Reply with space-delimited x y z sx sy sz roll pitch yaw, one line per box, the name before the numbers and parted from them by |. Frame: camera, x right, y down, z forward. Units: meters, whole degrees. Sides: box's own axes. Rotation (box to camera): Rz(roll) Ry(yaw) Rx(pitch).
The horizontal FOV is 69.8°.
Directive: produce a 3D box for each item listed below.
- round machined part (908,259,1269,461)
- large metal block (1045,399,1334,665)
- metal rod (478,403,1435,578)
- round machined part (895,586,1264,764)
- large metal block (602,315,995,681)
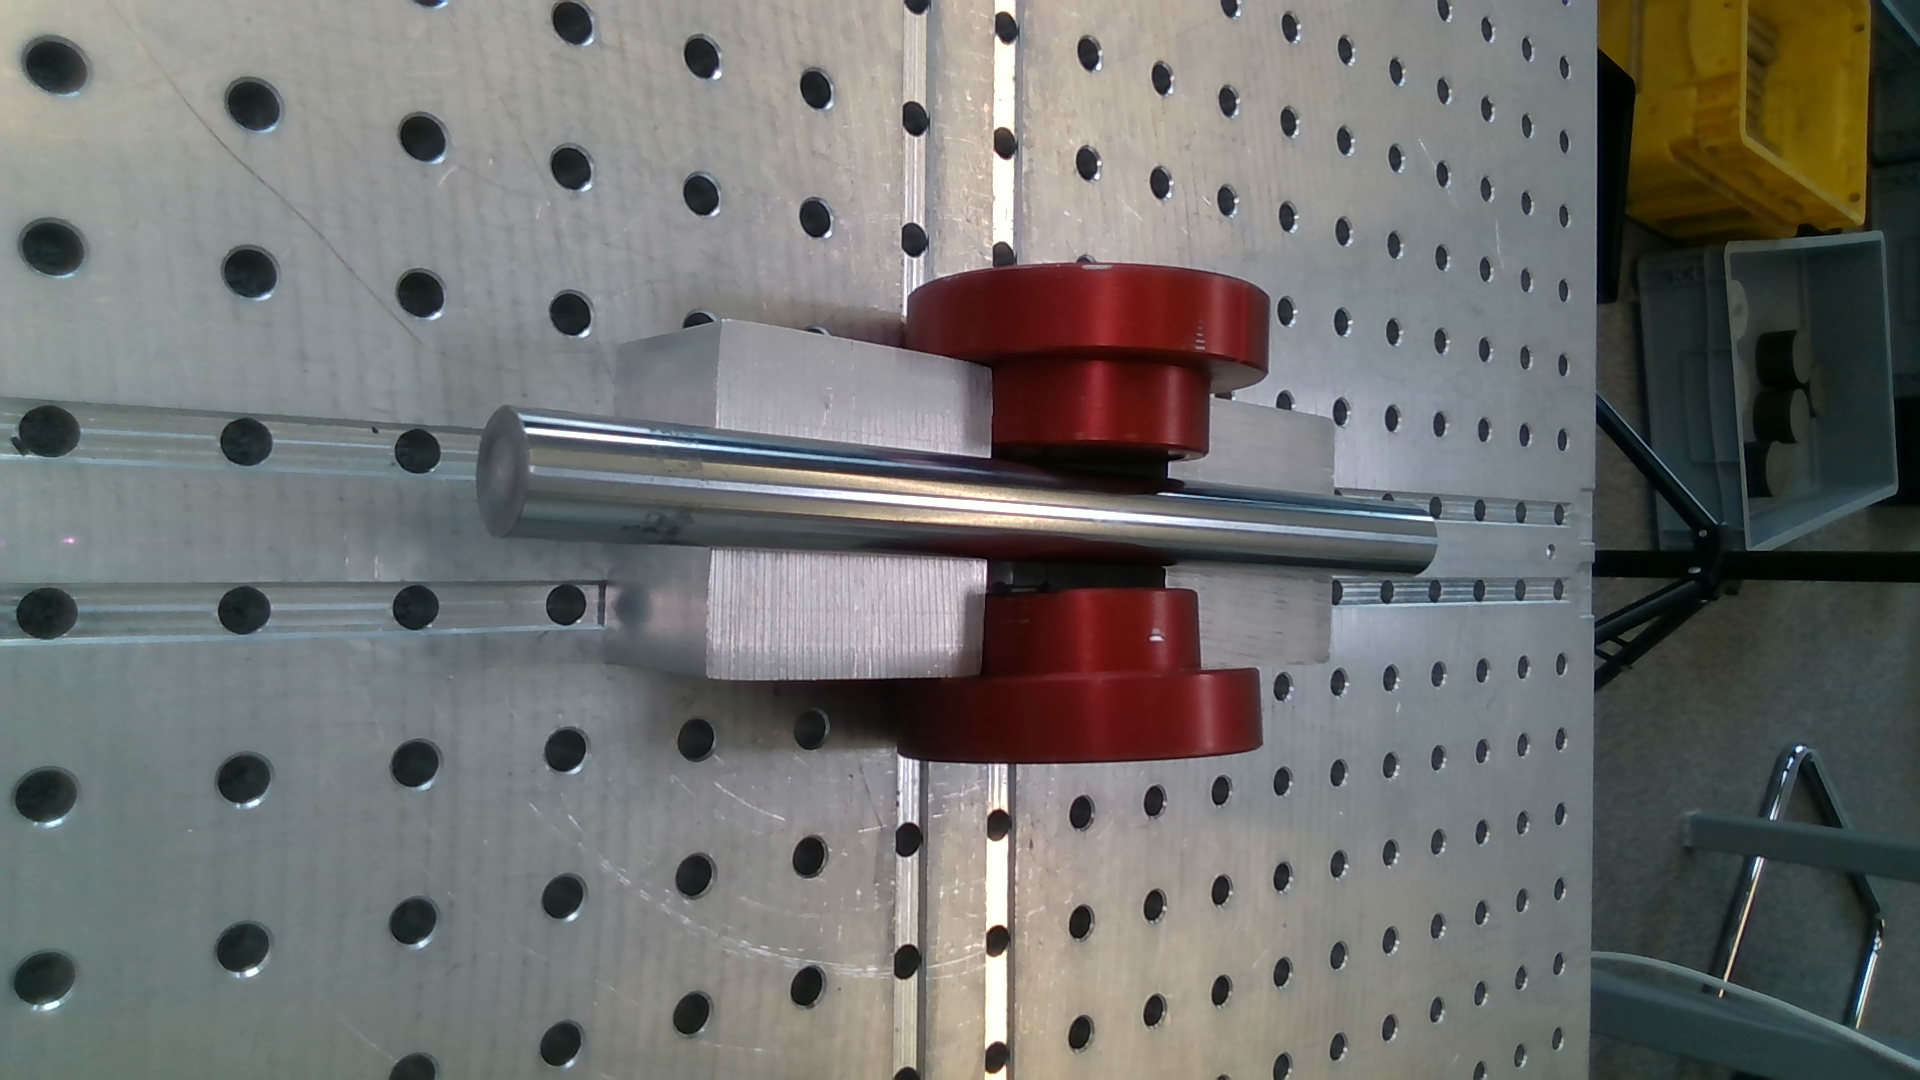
round machined part | 0.034 -0.044 0.374 0.098 0.098 0.042 3 88 -40
large metal block | 0.074 -0.002 0.440 0.080 0.050 0.080 3 88 -40
metal rod | 0.029 -0.006 0.354 0.300 0.025 0.025 3 88 -40
round machined part | 0.031 0.036 0.373 0.098 0.098 0.042 2 84 -40
large metal block | -0.039 -0.007 0.344 0.080 0.050 0.080 4 88 -40
